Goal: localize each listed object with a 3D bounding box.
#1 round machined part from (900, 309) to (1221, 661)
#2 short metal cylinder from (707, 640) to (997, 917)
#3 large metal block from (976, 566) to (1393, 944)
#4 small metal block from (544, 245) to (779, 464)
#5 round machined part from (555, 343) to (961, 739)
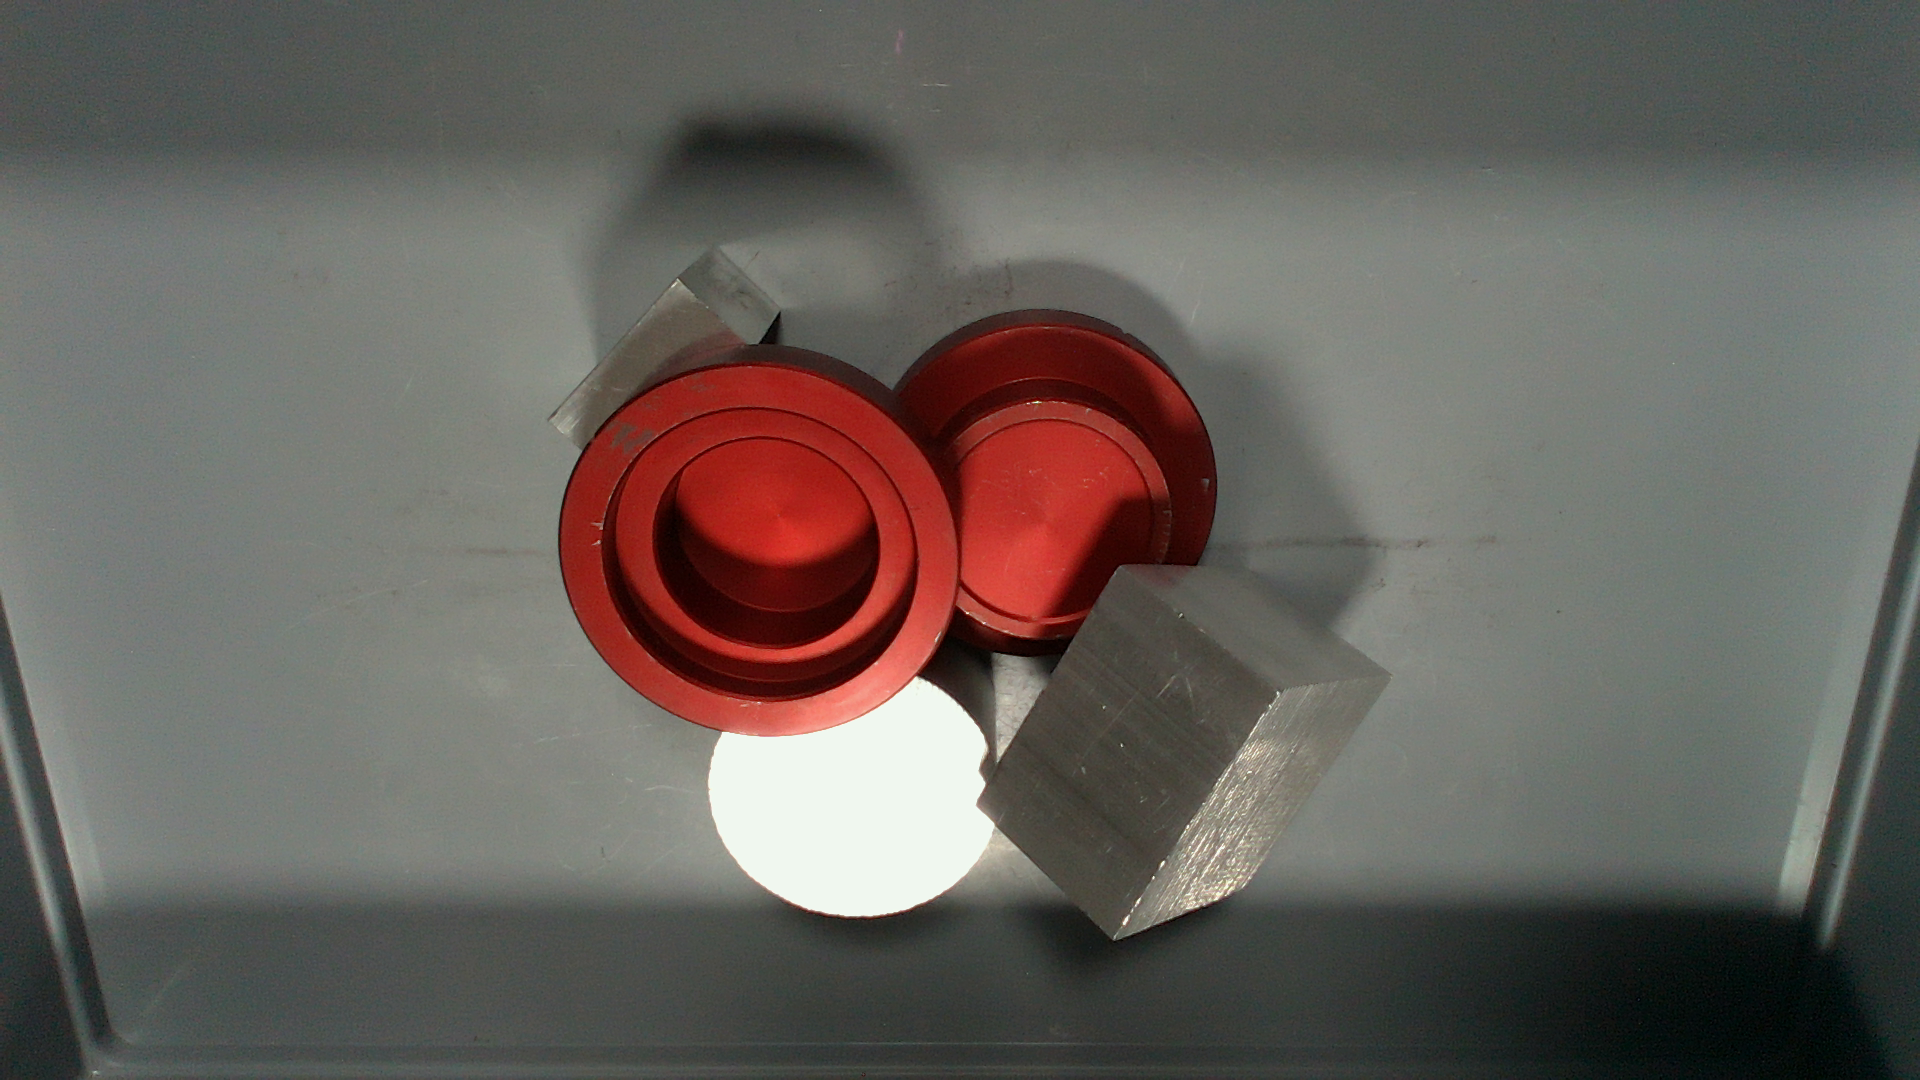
[{"bbox_3d":[0.023,-0.011,0.378,0.098,0.042,0.098,0,110,0],"label":"round machined part"},{"bbox_3d":[-0.029,0.061,0.402,0.080,0.050,0.080,0,110,0],"label":"short metal cylinder"},{"bbox_3d":[0.063,0.055,0.377,0.050,0.080,0.080,40,110,30],"label":"large metal block"},{"bbox_3d":[-0.077,-0.047,0.361,0.025,0.050,0.050,42,105,-14],"label":"small metal block"},{"bbox_3d":[-0.049,-0.002,0.351,0.098,0.042,0.098,0,110,0],"label":"round machined part"}]
